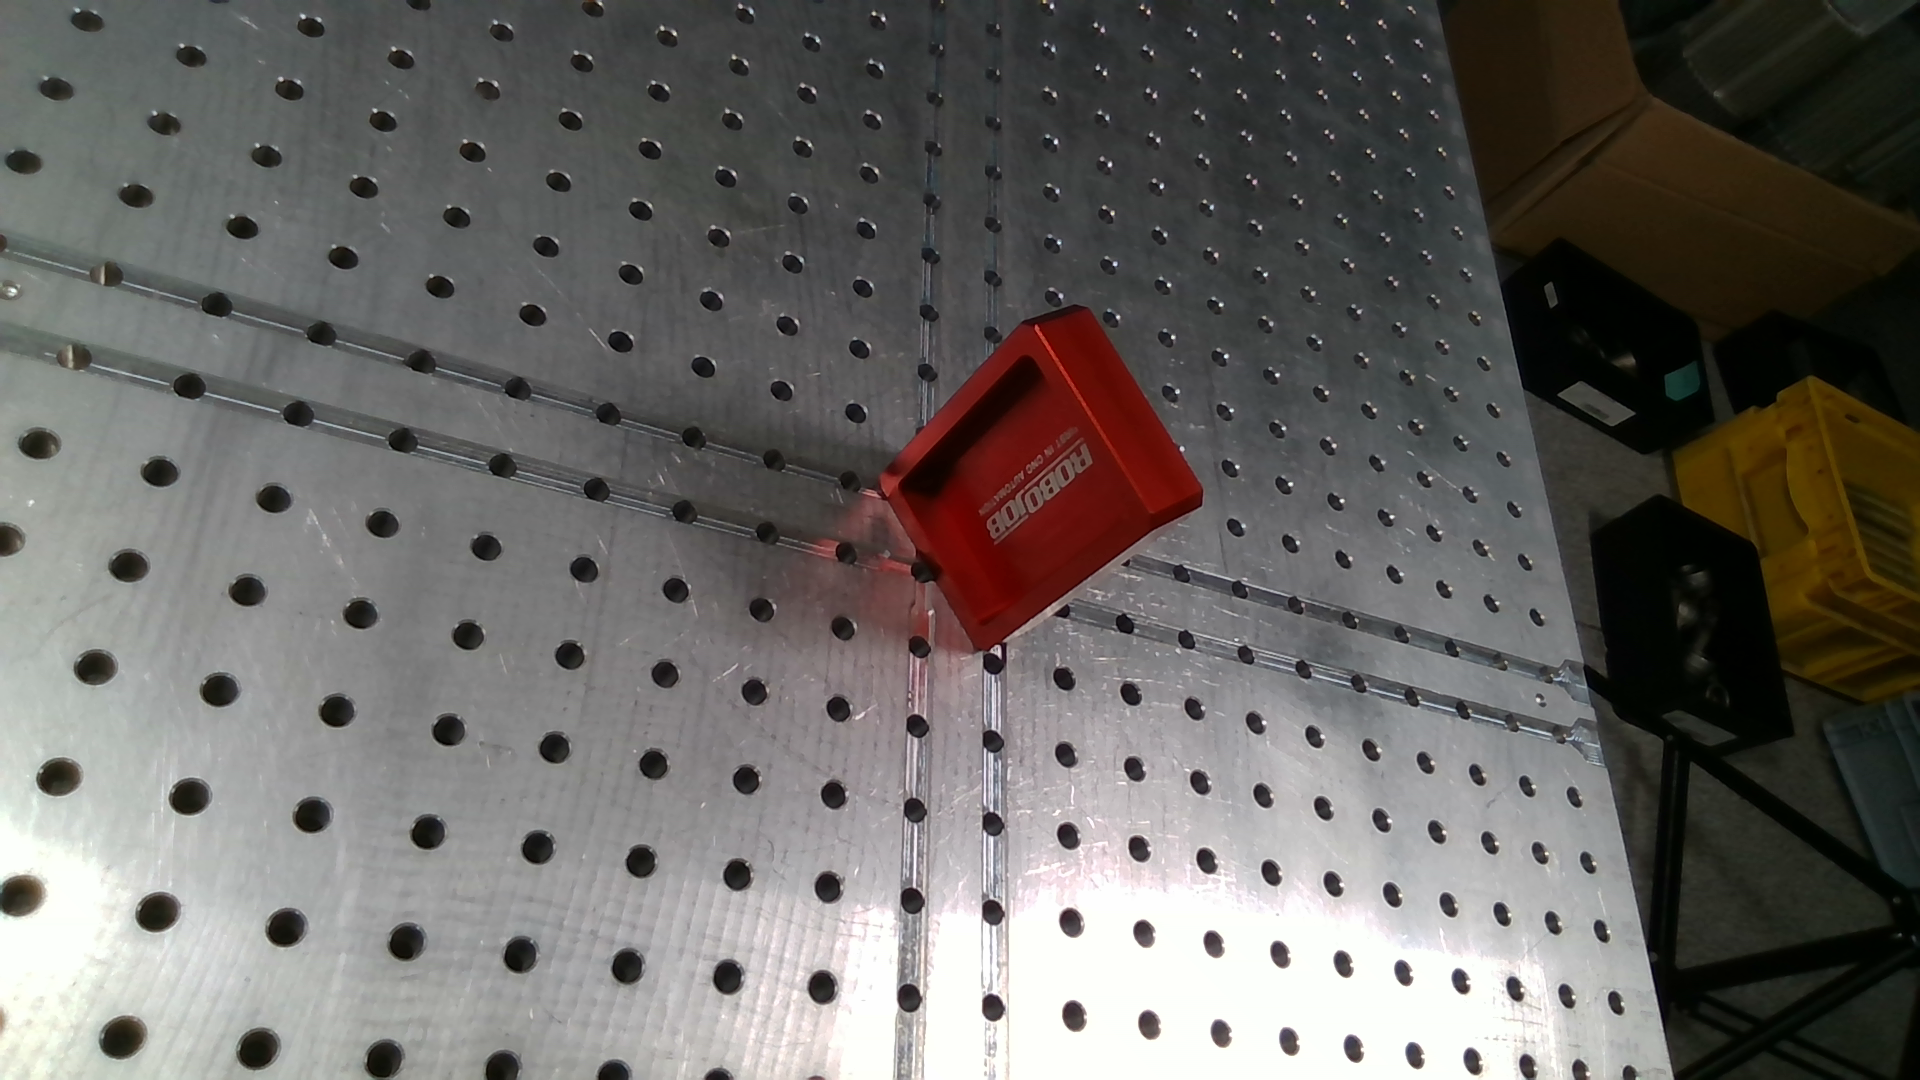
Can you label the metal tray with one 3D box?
[{"bbox_3d":[0.027,-0.021,0.549,0.030,0.130,0.090,-24,79,-38],"label":"metal tray"}]
